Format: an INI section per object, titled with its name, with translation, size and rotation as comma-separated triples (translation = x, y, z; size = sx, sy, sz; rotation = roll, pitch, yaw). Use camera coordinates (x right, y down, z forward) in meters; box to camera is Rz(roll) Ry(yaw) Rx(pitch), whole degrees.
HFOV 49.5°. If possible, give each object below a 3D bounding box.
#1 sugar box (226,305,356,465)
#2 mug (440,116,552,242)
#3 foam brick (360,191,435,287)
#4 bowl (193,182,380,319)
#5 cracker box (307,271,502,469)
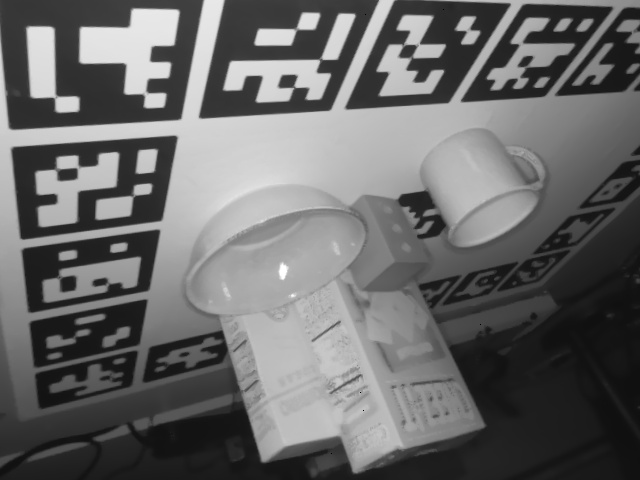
[sugar box]
translation = -0.028, 0.123, 0.679
size = 0.094, 0.176, 0.044
rotation = 7, 138, -42
[mug]
translation = 0.170, -0.059, 0.625
size = 0.118, 0.081, 0.092
rotation = -15, 157, -19
[foam brick]
translation = 0.068, 0.000, 0.663
size = 0.053, 0.078, 0.050
rotation = 2, 142, -38
[bowl]
translation = -0.033, 0.001, 0.584
size = 0.163, 0.055, 0.160
rotation = -19, 149, -11
[cracker box]
translation = 0.082, 0.114, 0.709
size = 0.071, 0.214, 0.166
rotation = -39, 146, 28
